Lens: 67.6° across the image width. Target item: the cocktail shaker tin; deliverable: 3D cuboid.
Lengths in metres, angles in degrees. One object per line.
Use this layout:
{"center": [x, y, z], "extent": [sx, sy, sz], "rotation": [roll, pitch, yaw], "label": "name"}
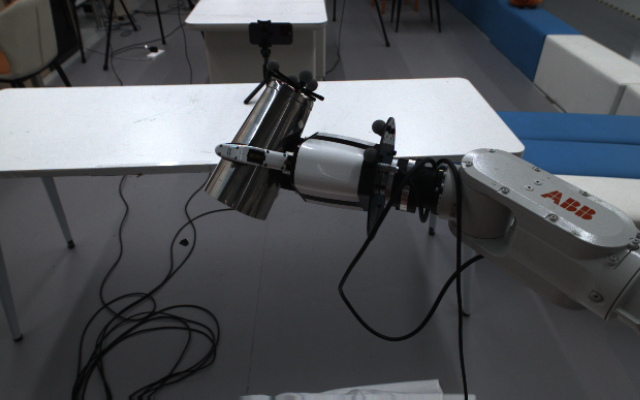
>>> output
{"center": [-0.076, -0.073, 0.649], "extent": [0.093, 0.170, 0.093], "rotation": [27, 2, -1], "label": "cocktail shaker tin"}
